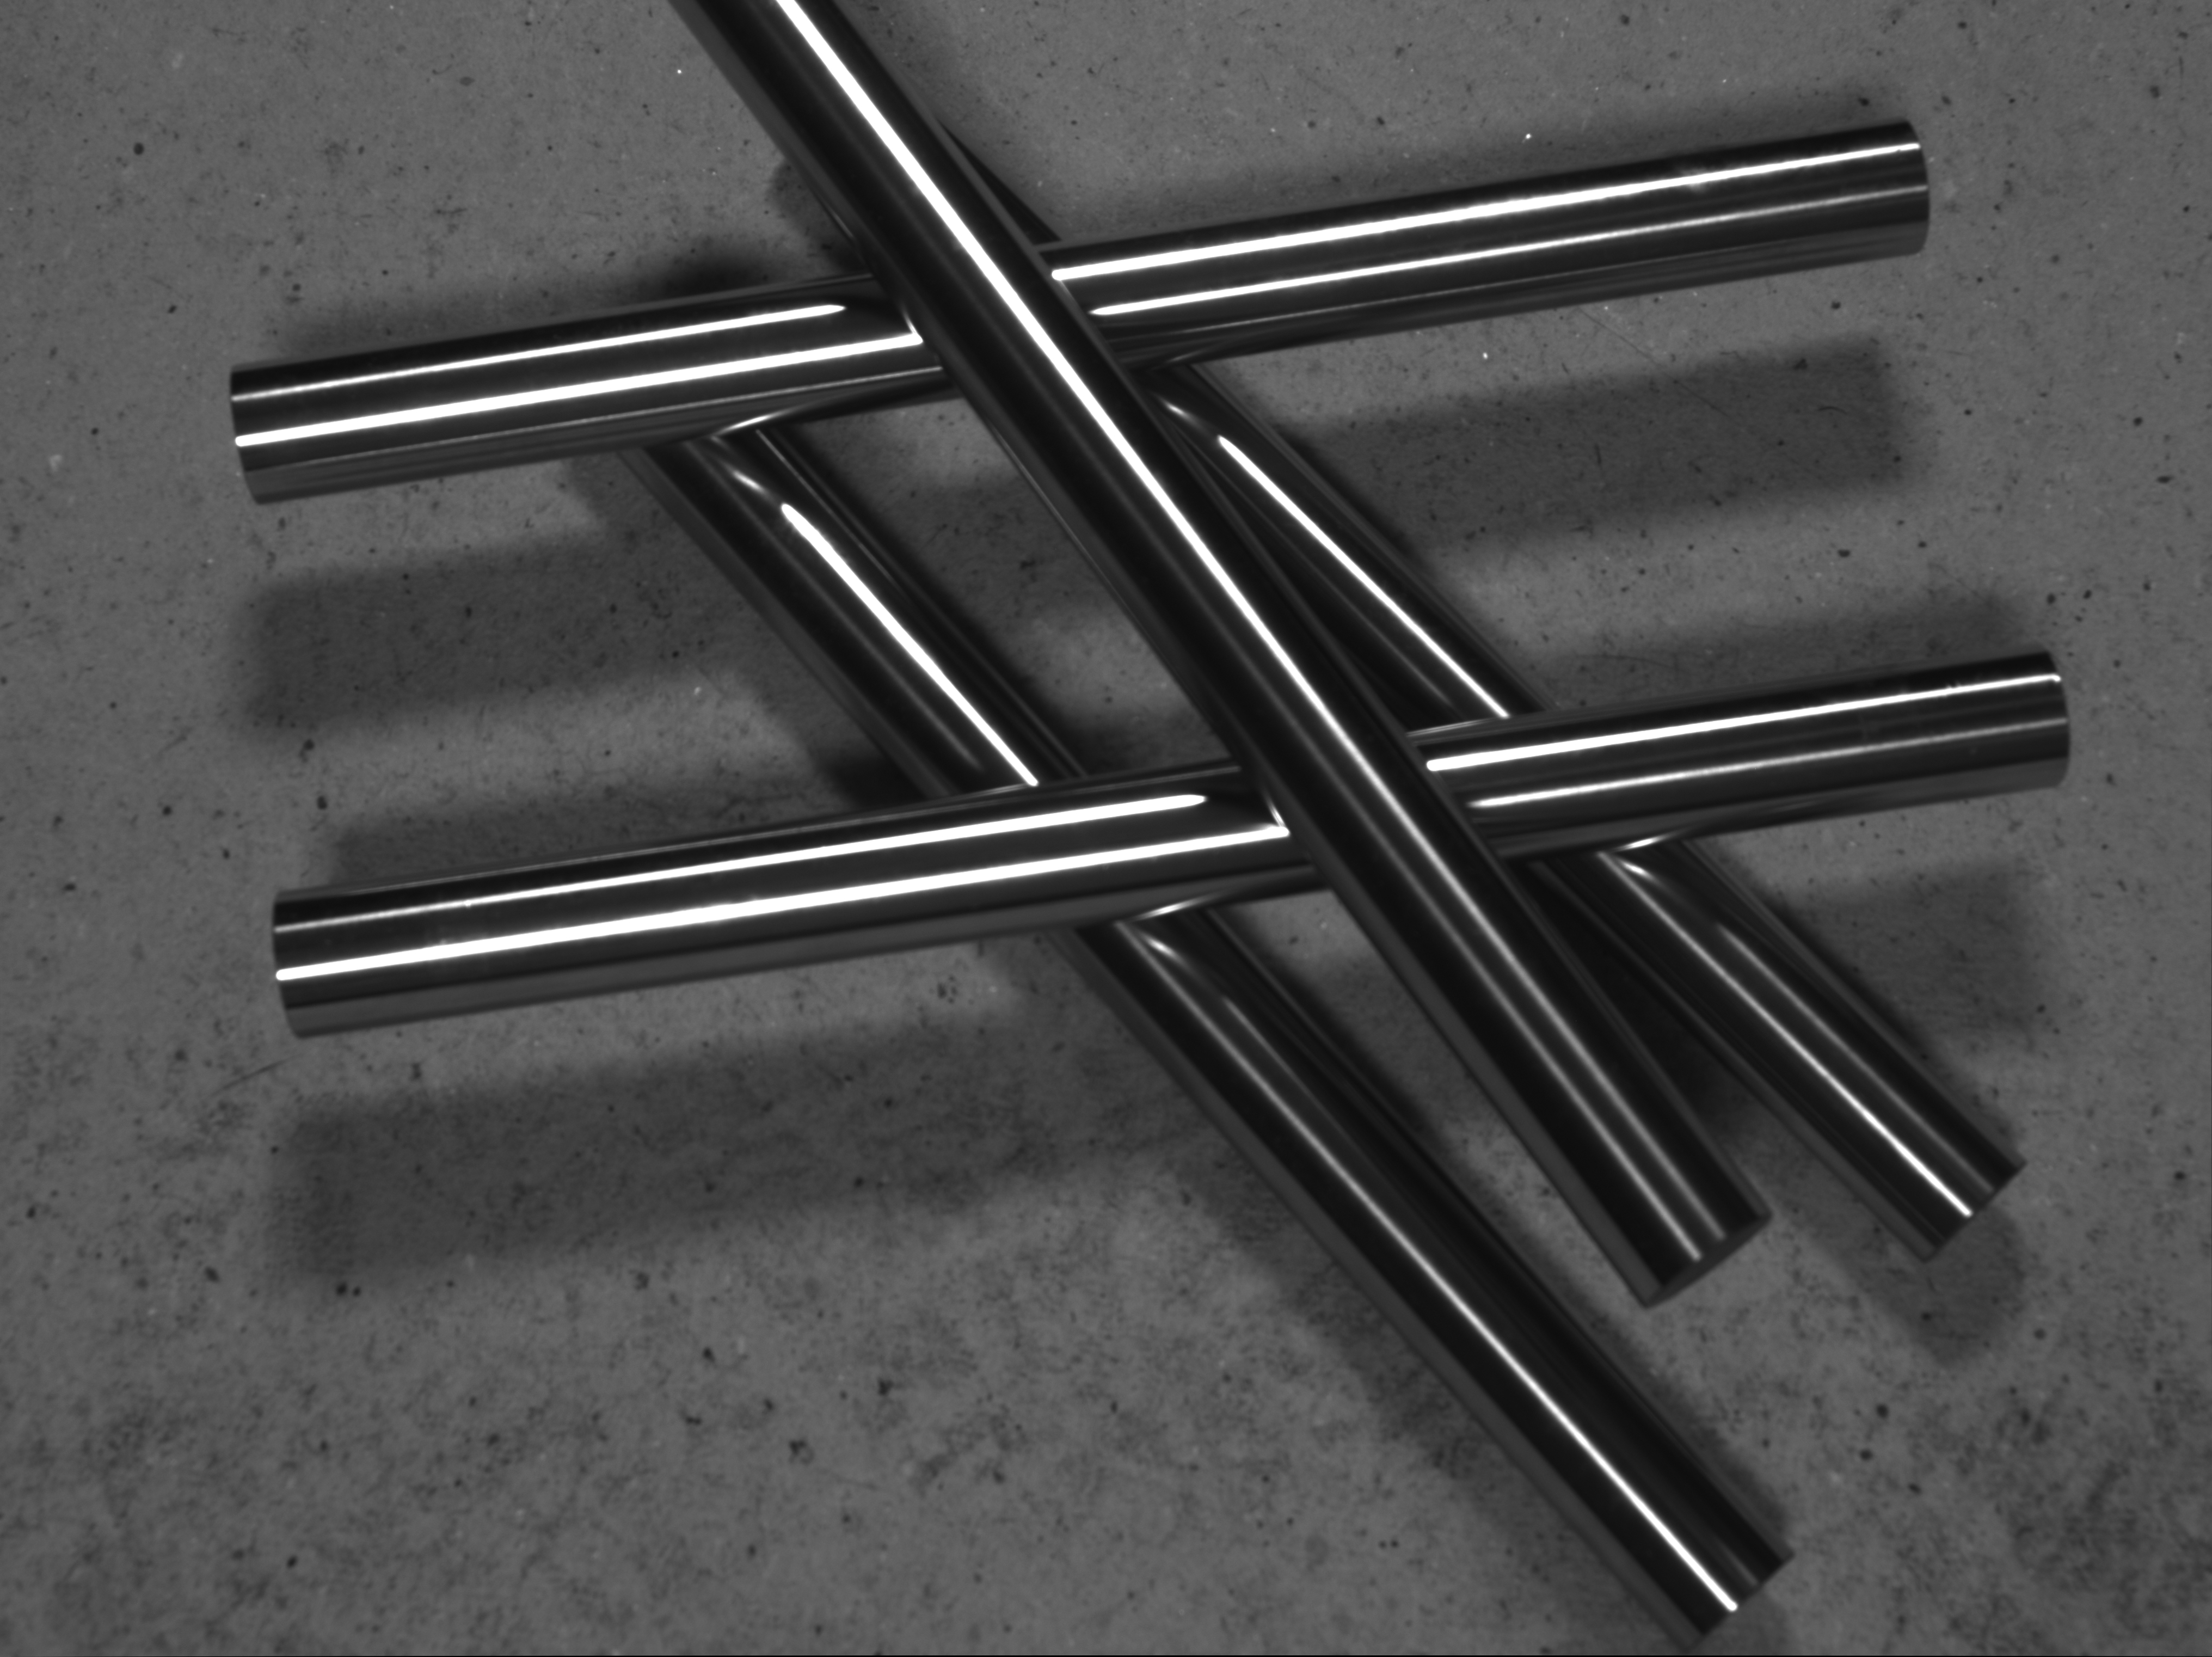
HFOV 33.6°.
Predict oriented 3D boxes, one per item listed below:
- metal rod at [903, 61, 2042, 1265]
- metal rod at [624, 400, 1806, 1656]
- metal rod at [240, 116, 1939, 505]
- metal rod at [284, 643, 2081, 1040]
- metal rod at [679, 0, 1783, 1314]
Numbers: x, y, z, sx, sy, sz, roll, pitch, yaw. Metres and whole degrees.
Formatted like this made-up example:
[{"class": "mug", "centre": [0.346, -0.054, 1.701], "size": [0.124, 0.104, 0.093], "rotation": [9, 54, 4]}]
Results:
[{"class": "metal rod", "centre": [0.049, -0.038, 0.659], "size": [0.025, 0.025, 0.300], "rotation": [-41, 75, -13]}, {"class": "metal rod", "centre": [0.008, 0.020, 0.637], "size": [0.025, 0.025, 0.300], "rotation": [-39, 74, -13]}, {"class": "metal rod", "centre": [-0.001, -0.093, 0.653], "size": [0.300, 0.025, 0.025], "rotation": [-9, 70, -3]}, {"class": "metal rod", "centre": [0.014, 0.002, 0.618], "size": [0.300, 0.025, 0.025], "rotation": [-8, 70, -3]}, {"class": "metal rod", "centre": [0.011, -0.048, 0.610], "size": [0.025, 0.025, 0.300], "rotation": [-33, 73, -11]}]
